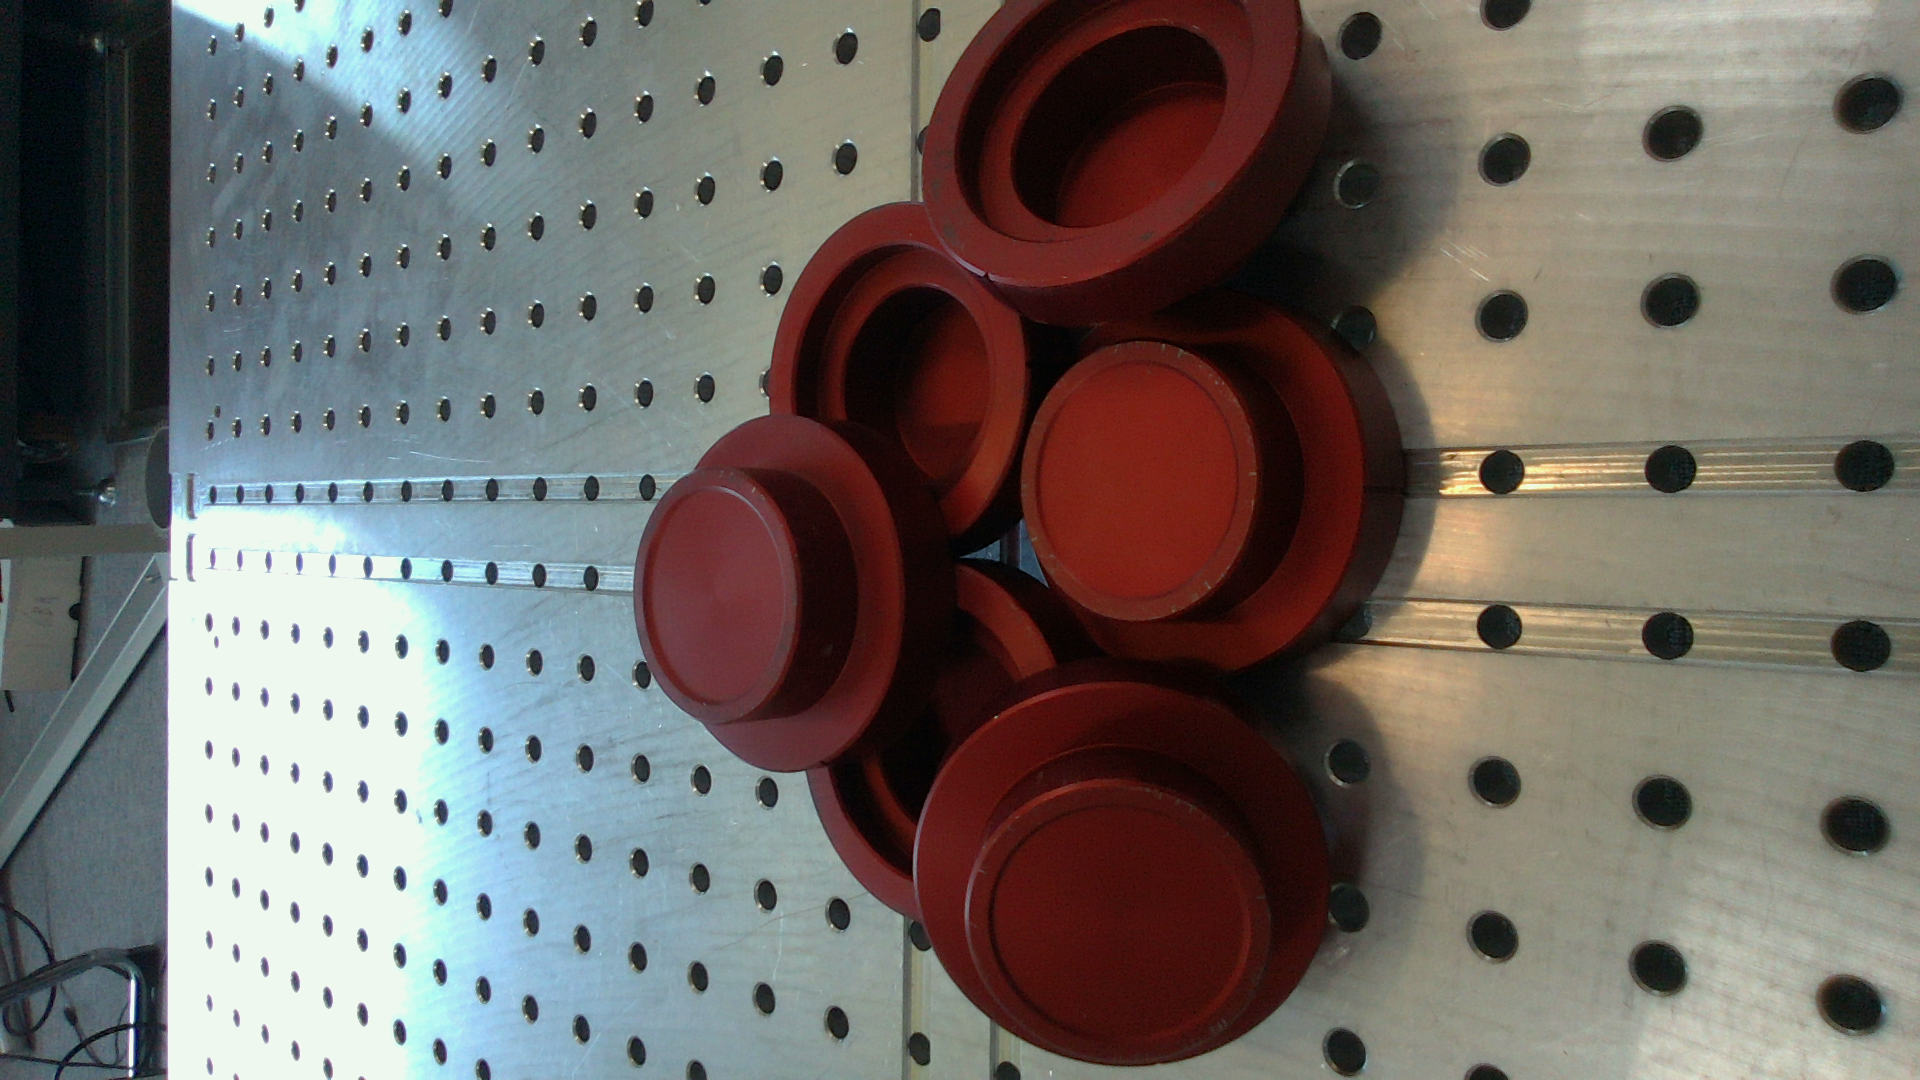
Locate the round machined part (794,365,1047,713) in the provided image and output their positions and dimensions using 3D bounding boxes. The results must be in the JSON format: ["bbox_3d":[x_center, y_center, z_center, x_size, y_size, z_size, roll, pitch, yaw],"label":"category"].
[{"bbox_3d":[-0.013,0.000,0.397,0.098,0.042,0.098,0,90,40],"label":"round machined part"}]

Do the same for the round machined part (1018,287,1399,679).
[{"bbox_3d":[0.054,-0.014,0.341,0.098,0.042,0.098,0,90,40],"label":"round machined part"}]

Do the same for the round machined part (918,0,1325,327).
[{"bbox_3d":[0.042,-0.095,0.337,0.098,0.042,0.098,-14,62,28],"label":"round machined part"}]

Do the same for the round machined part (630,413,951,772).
[{"bbox_3d":[-0.053,0.014,0.376,0.098,0.042,0.098,0,90,40],"label":"round machined part"}]

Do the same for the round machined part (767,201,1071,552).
[{"bbox_3d":[-0.007,-0.044,0.393,0.098,0.042,0.098,0,90,40],"label":"round machined part"}]

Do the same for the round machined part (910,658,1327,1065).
[{"bbox_3d":[0.036,0.081,0.324,0.098,0.042,0.098,2,103,7],"label":"round machined part"}]

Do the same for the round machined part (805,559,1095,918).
[{"bbox_3d":[0.004,0.054,0.384,0.098,0.042,0.098,0,90,40],"label":"round machined part"}]
